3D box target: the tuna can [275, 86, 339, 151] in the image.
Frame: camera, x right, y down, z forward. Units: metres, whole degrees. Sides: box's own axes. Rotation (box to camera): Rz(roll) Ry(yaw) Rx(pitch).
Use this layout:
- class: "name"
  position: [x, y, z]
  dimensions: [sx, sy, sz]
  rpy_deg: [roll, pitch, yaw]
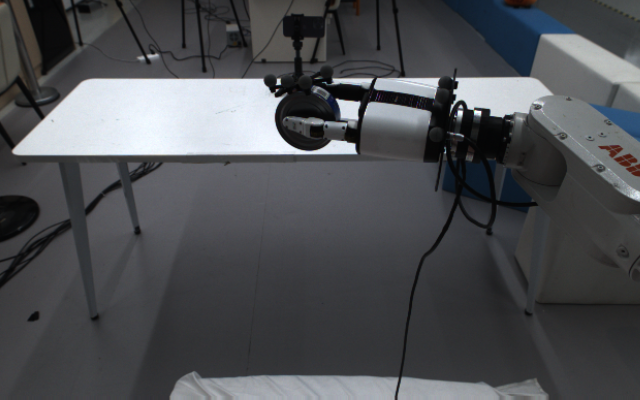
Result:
- class: "tuna can"
  position: [-0.014, -0.109, 0.659]
  dimensions: [0.085, 0.085, 0.034]
  rpy_deg: [10, 33, 11]
